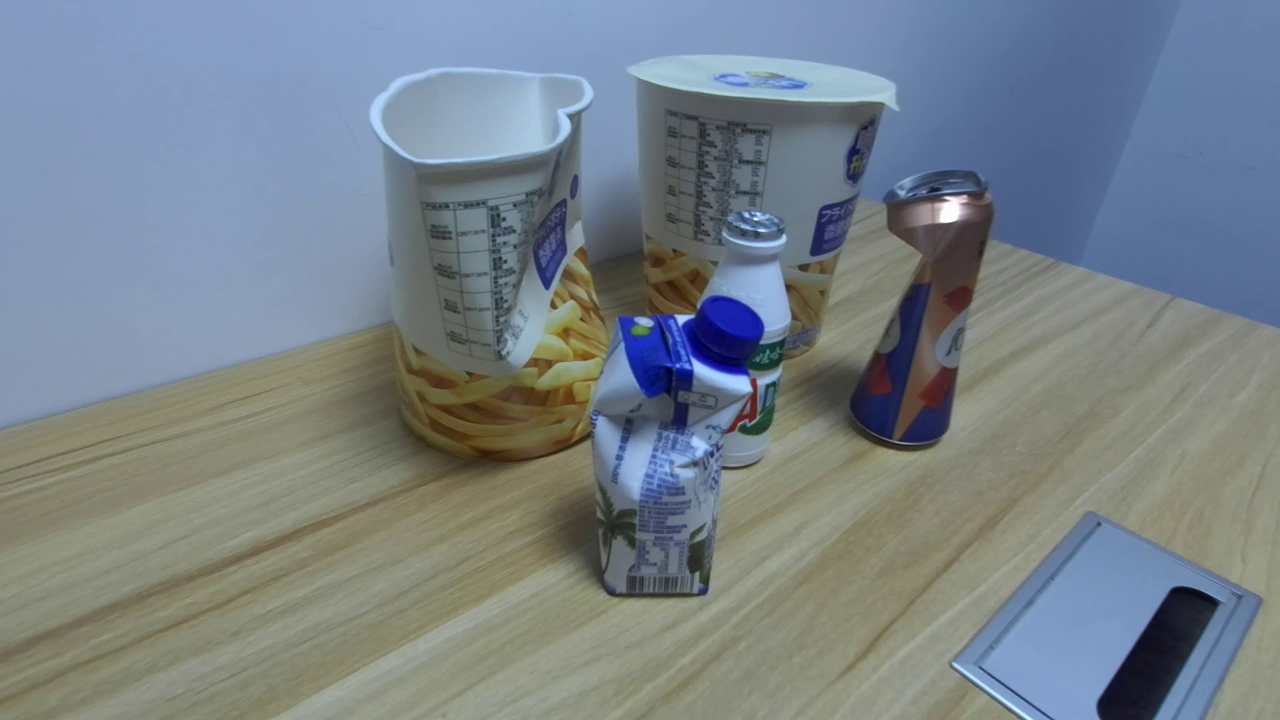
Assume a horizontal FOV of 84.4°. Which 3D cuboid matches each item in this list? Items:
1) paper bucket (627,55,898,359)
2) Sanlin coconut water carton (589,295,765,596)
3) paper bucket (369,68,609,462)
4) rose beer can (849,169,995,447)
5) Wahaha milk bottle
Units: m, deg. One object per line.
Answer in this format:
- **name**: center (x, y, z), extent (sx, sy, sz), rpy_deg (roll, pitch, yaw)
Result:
- **paper bucket**: center (0.082, -0.117, 0.543), extent (0.198, 0.195, 0.198), rpy_deg (2, 31, -1)
- **Sanlin coconut water carton**: center (0.013, 0.040, 0.321), extent (0.070, 0.144, 0.060), rpy_deg (2, 29, -3)
- **paper bucket**: center (-0.079, -0.061, 0.430), extent (0.148, 0.199, 0.217), rpy_deg (-11, 33, -23)
- **rose beer can**: center (0.173, -0.028, 0.433), extent (0.070, 0.168, 0.069), rpy_deg (-13, 30, -20)
- **Wahaha milk bottle**: center (0.058, -0.009, 0.407), extent (0.053, 0.147, 0.053), rpy_deg (2, 32, -1)
